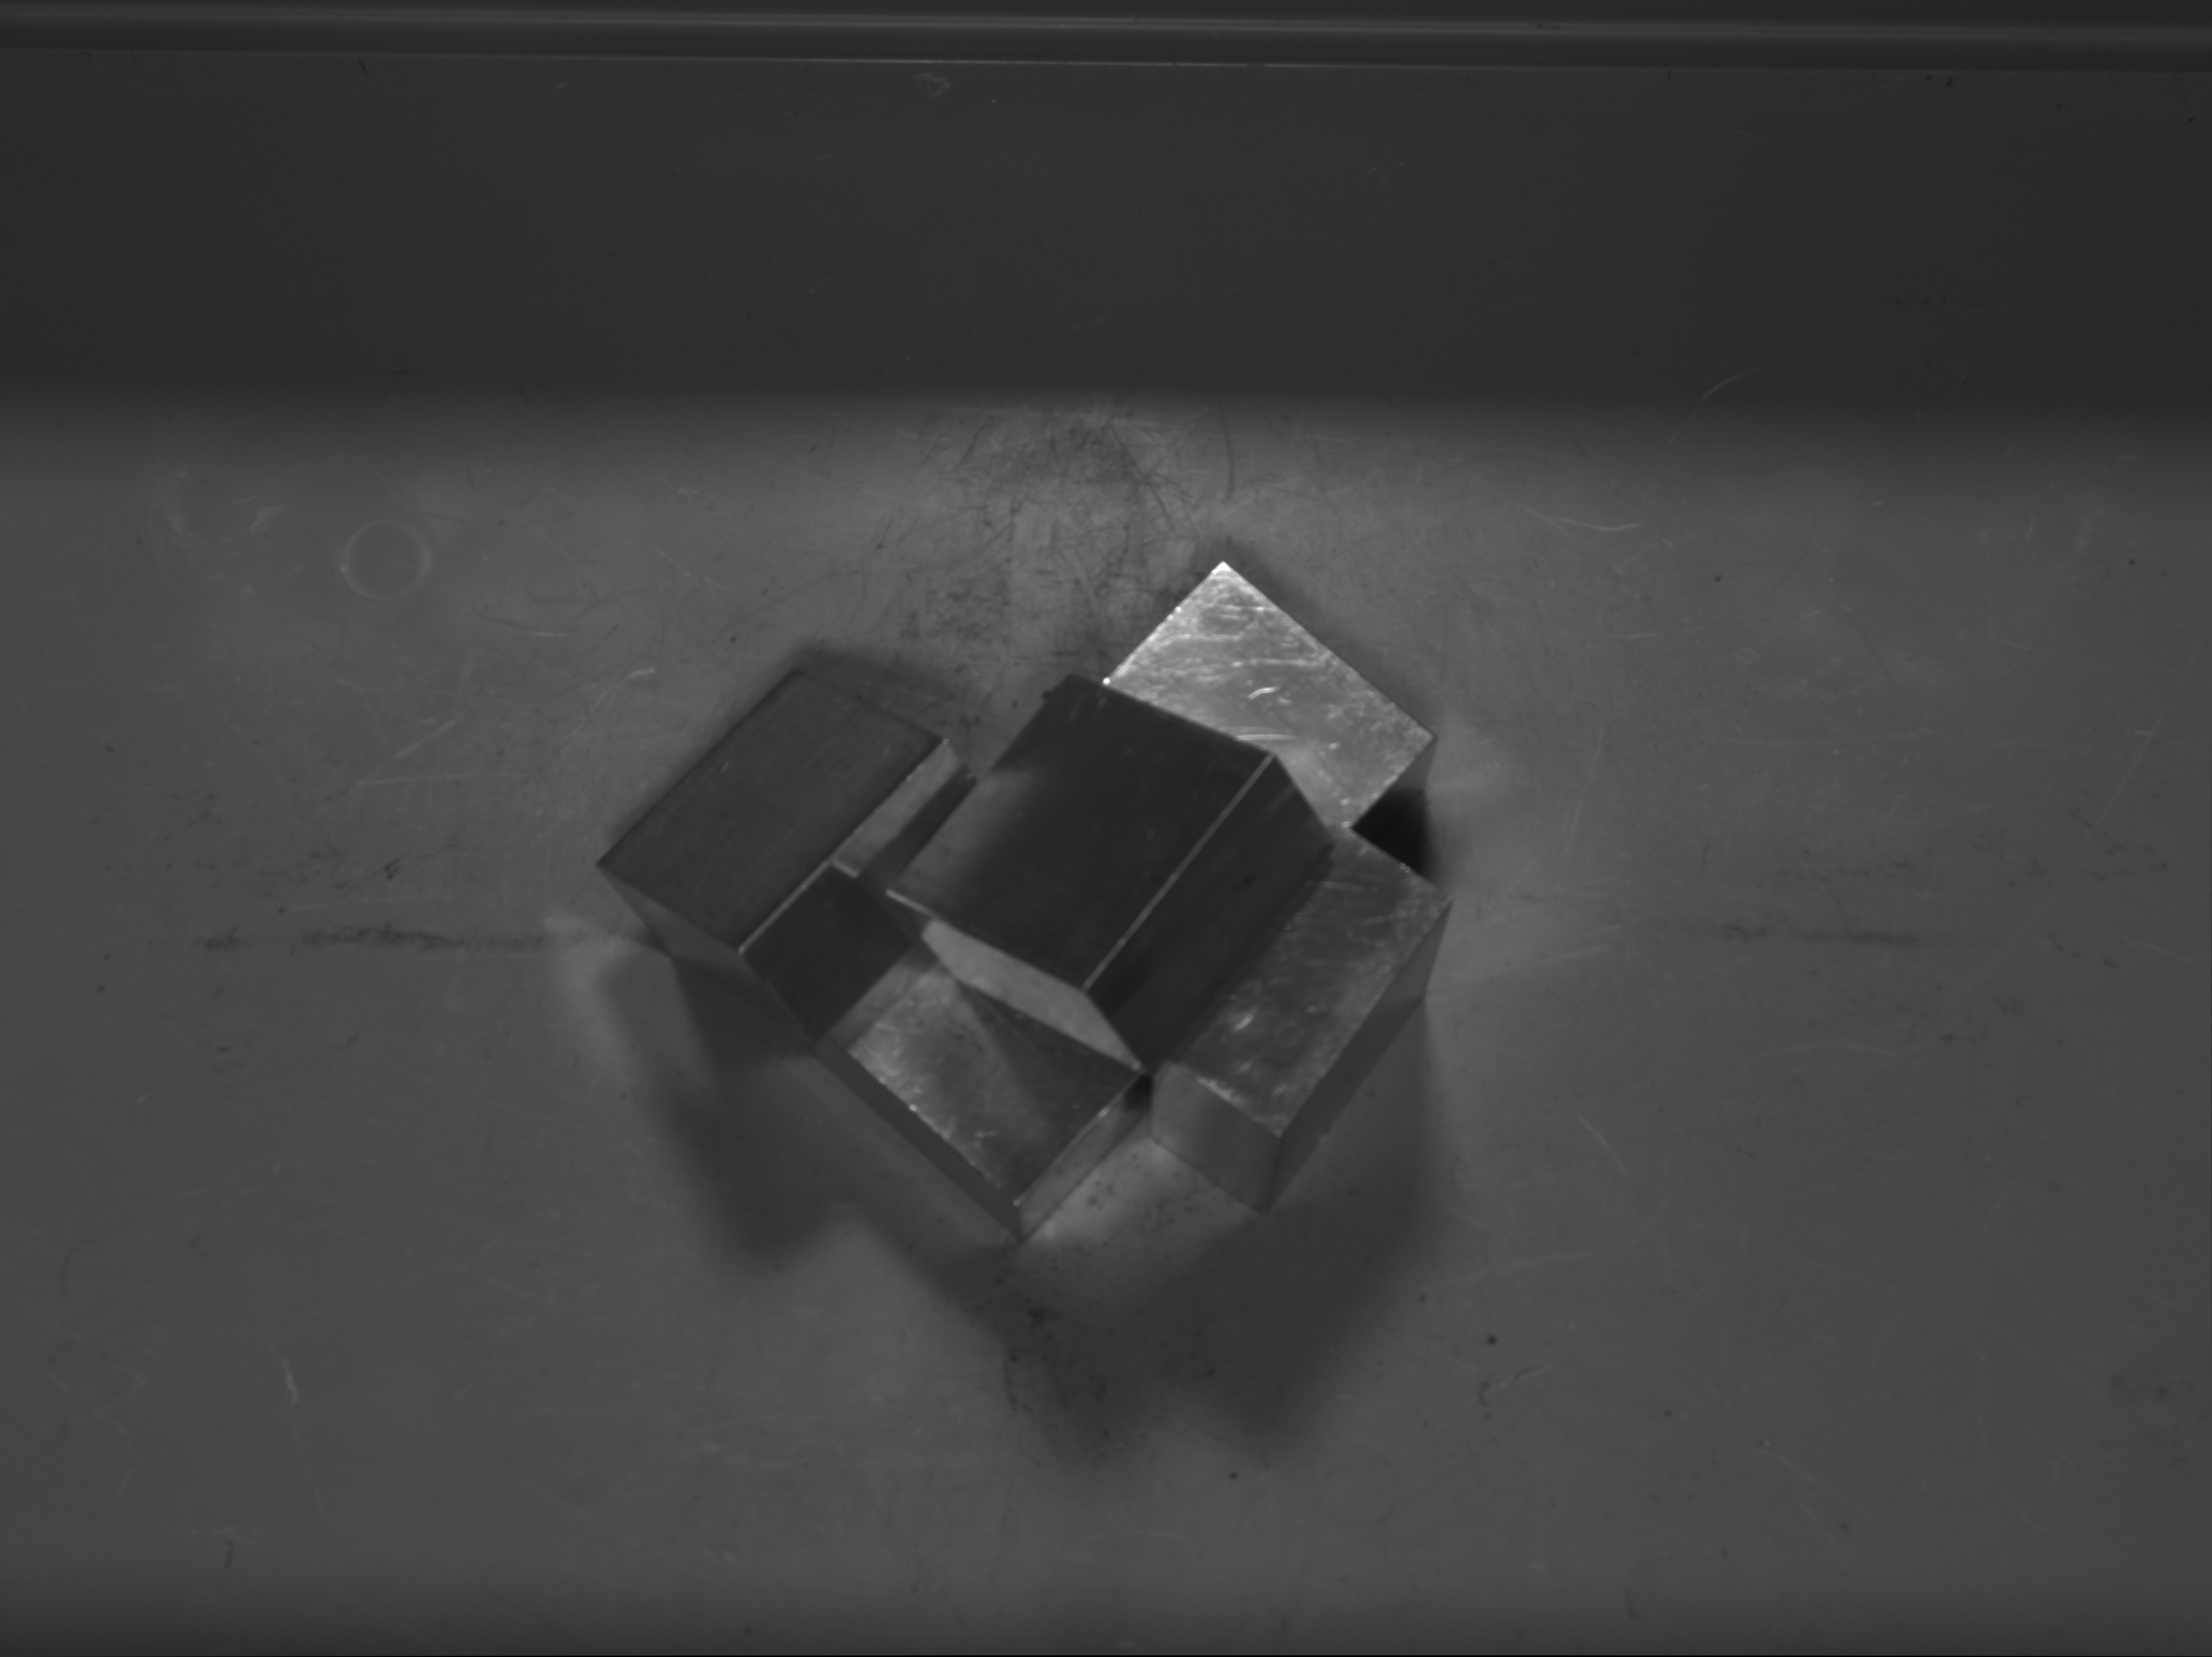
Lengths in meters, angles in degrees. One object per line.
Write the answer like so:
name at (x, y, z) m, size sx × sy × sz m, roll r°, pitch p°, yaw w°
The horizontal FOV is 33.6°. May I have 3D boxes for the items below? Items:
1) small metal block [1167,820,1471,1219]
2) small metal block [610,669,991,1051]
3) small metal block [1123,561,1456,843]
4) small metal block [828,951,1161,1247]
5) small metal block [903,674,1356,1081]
small metal block at (0.035, 0.033, 0.618) m, size 0.025 × 0.050 × 0.050 m, roll 34°, pitch 73°, yaw 12°
small metal block at (-0.049, 0.004, 0.629) m, size 0.050 × 0.025 × 0.050 m, roll -46°, pitch 37°, yaw -14°
small metal block at (0.026, -0.010, 0.647) m, size 0.050 × 0.025 × 0.050 m, roll 40°, pitch 75°, yaw 13°
small metal block at (-0.013, 0.035, 0.631) m, size 0.050 × 0.025 × 0.050 m, roll 40°, pitch 75°, yaw 13°
small metal block at (0.004, 0.007, 0.601) m, size 0.050 × 0.025 × 0.050 m, roll 23°, pitch 68°, yaw 44°
